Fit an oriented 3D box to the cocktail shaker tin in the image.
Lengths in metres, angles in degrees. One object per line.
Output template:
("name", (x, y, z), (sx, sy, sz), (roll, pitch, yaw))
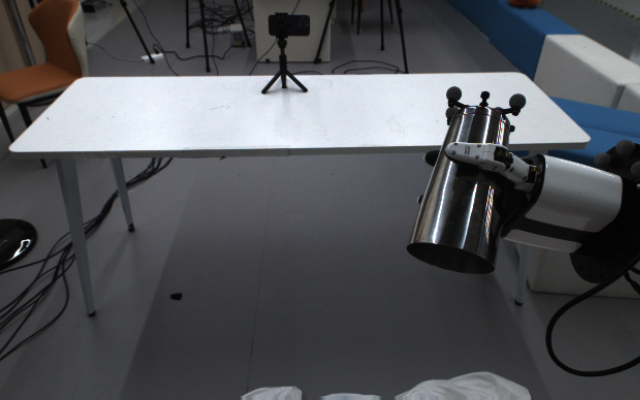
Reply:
("cocktail shaker tin", (0.162, -0.014, 0.532), (0.093, 0.093, 0.170), (13, 70, 15))
